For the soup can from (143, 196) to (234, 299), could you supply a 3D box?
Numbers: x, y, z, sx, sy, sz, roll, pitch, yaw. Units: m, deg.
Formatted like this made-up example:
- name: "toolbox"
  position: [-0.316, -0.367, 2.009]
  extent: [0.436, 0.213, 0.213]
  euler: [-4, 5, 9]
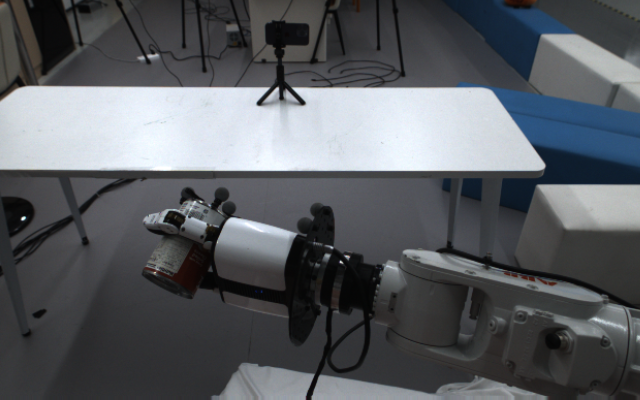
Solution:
- name: "soup can"
  position: [-0.156, 0.058, 0.579]
  extent: [0.067, 0.067, 0.101]
  euler: [15, 63, 18]
